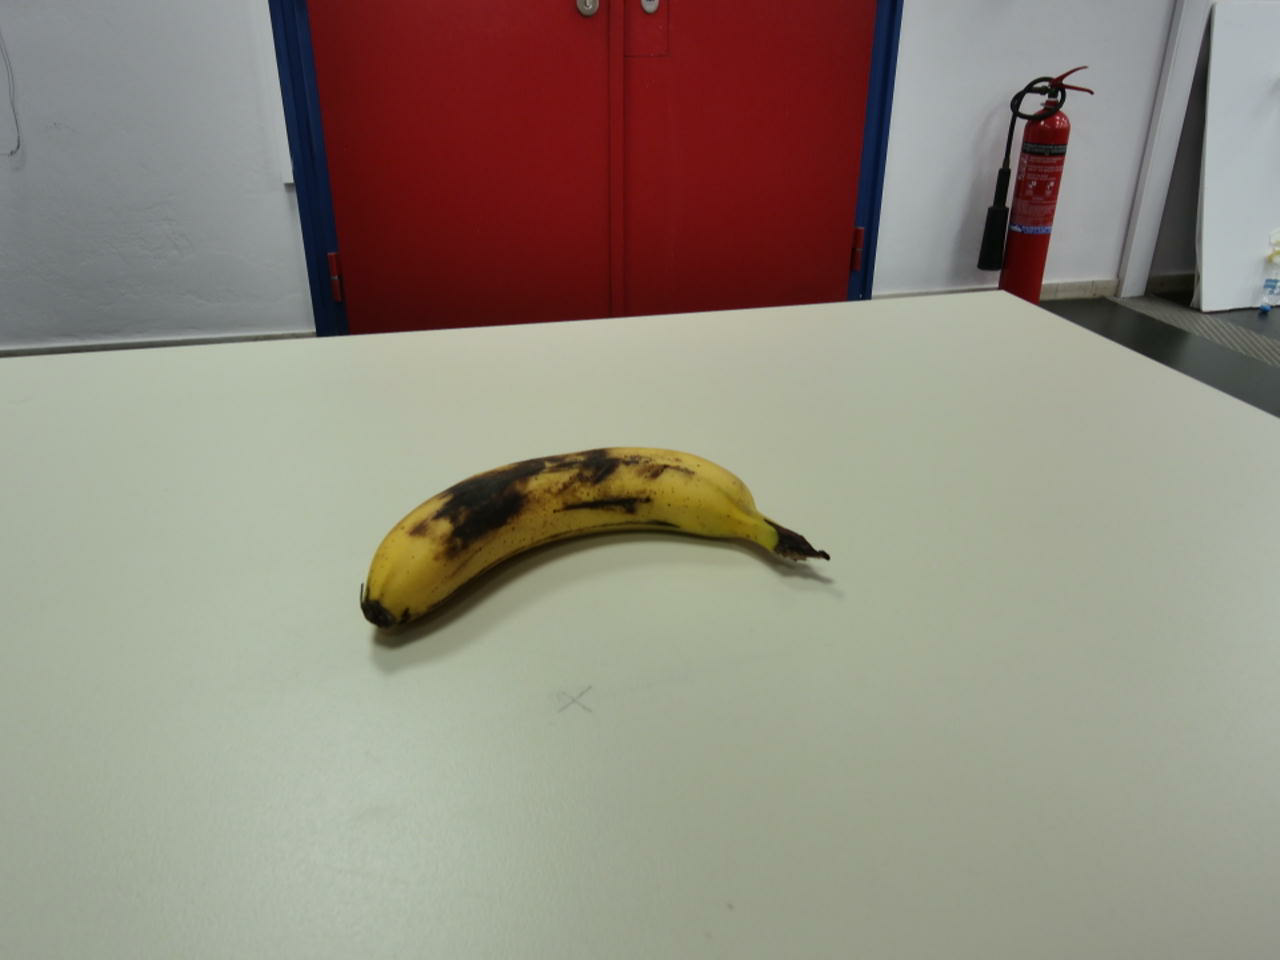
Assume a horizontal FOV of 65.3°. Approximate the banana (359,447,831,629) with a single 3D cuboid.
[{"bbox_3d":[-0.025,0.018,0.429,0.187,0.039,0.094,-6,25,-14],"label":"banana"}]
